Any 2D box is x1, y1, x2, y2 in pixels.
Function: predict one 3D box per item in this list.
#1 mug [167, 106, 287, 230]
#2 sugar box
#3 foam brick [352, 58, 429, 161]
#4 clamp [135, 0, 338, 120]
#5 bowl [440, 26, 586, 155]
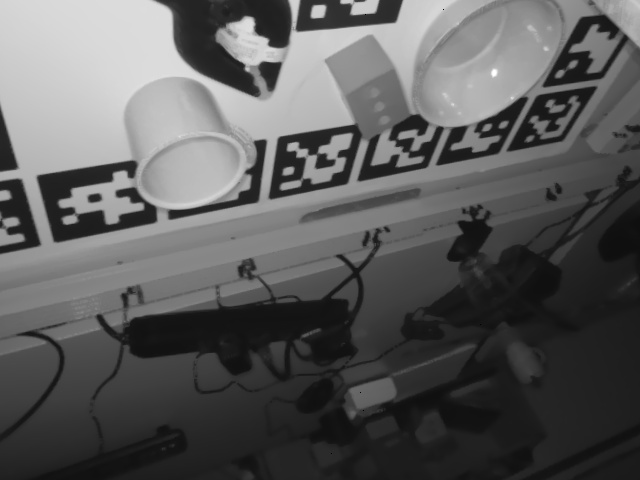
[{"bbox_3d":[-0.082,-0.064,0.633,0.119,0.081,0.092,10,134,-39],"label":"mug"},{"bbox_3d":[0.297,-0.209,0.604,0.093,0.176,0.045,-24,147,1],"label":"sugar box"},{"bbox_3d":[0.070,-0.129,0.689,0.053,0.051,0.078,-28,147,2],"label":"foam brick"},{"bbox_3d":[-0.037,-0.162,0.557,0.166,0.036,0.202,-26,148,-3],"label":"clamp"},{"bbox_3d":[0.185,-0.162,0.709,0.163,0.055,0.160,-18,147,-11],"label":"bowl"}]
